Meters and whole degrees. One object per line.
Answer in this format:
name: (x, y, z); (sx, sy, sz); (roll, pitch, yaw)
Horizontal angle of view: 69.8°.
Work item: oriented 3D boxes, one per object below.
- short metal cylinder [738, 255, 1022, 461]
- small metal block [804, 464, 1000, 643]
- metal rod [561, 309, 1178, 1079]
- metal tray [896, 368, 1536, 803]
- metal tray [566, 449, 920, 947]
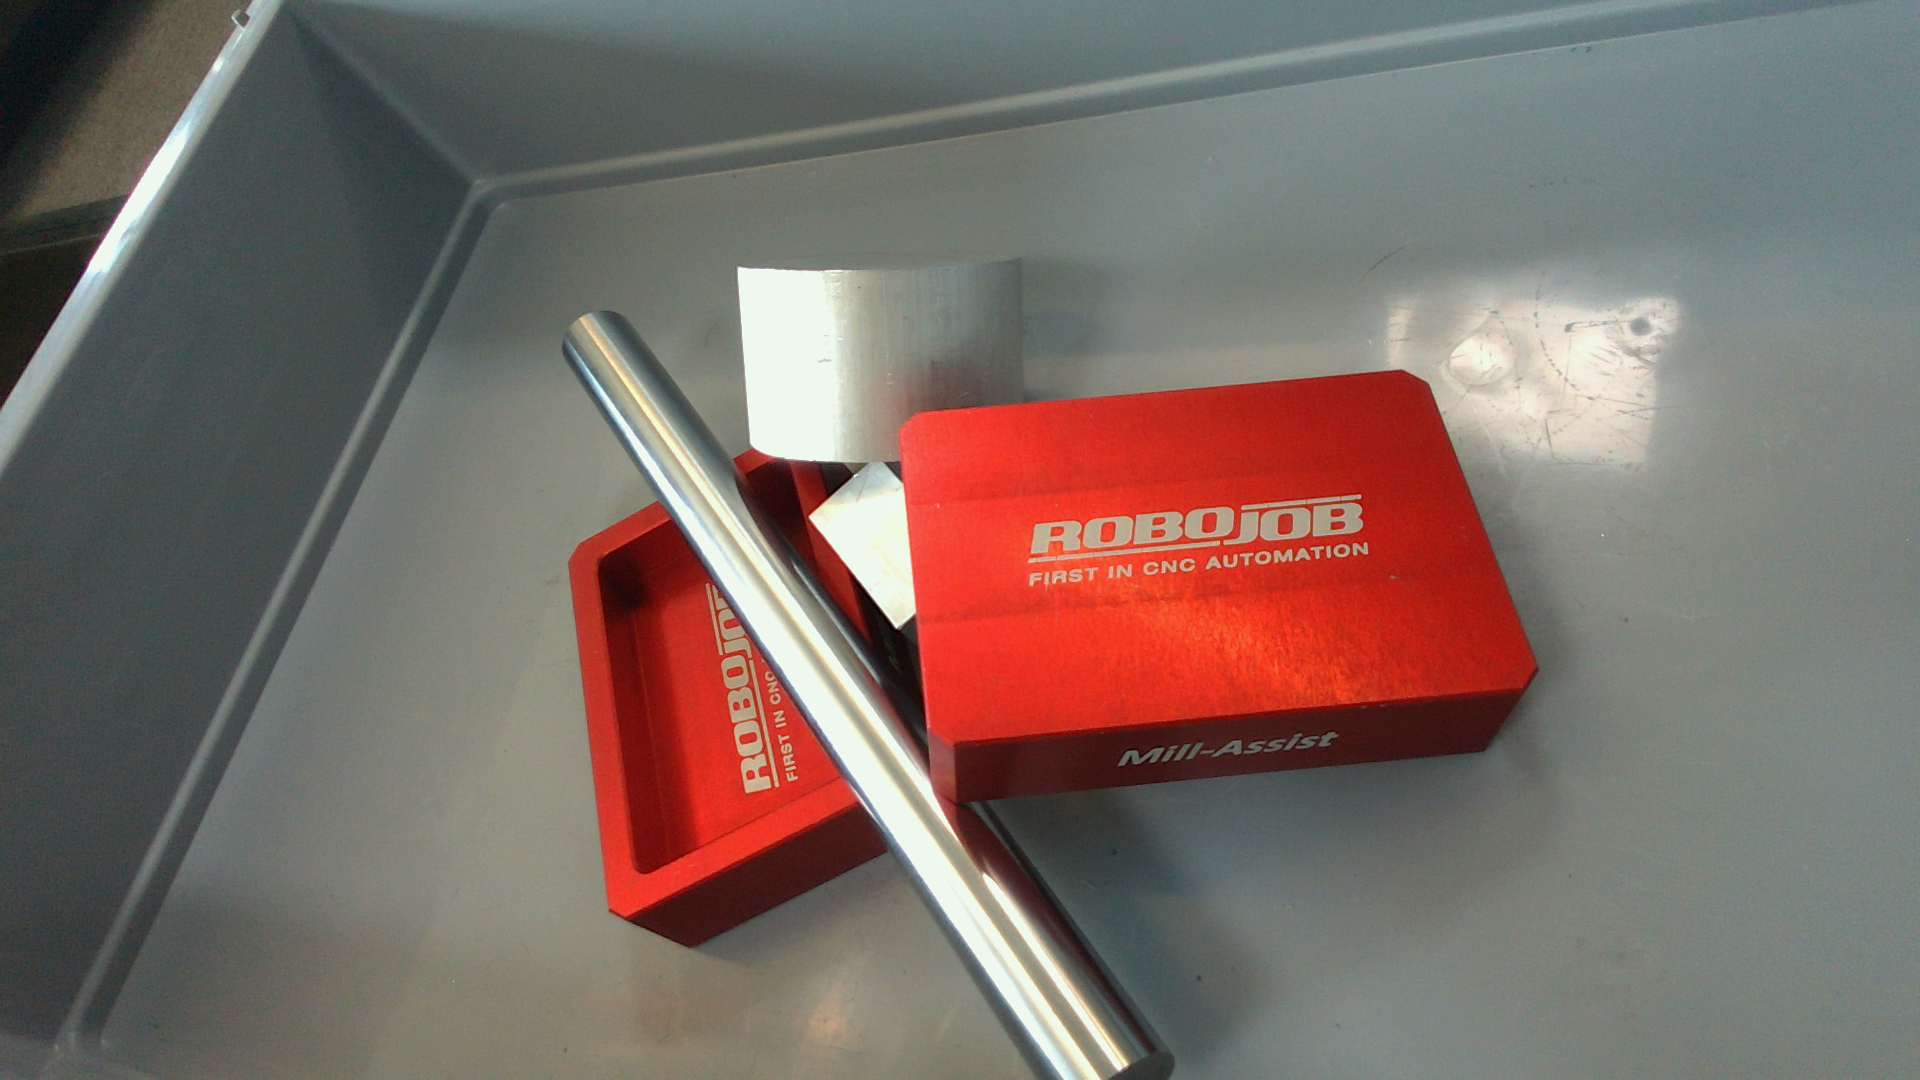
short metal cylinder: (-0.022, -0.055, 0.395); (0.080, 0.080, 0.050); (8, 108, 32)
small metal block: (-0.009, 0.011, 0.373); (0.025, 0.050, 0.050); (-42, 51, 0)
metal rod: (-0.044, 0.021, 0.364); (0.025, 0.025, 0.299); (-41, 51, 0)
metal tray: (0.054, 0.008, 0.322); (0.130, 0.030, 0.090); (-5, 56, -3)
metal tray: (-0.063, 0.038, 0.399); (0.090, 0.030, 0.130); (-28, 52, 11)
